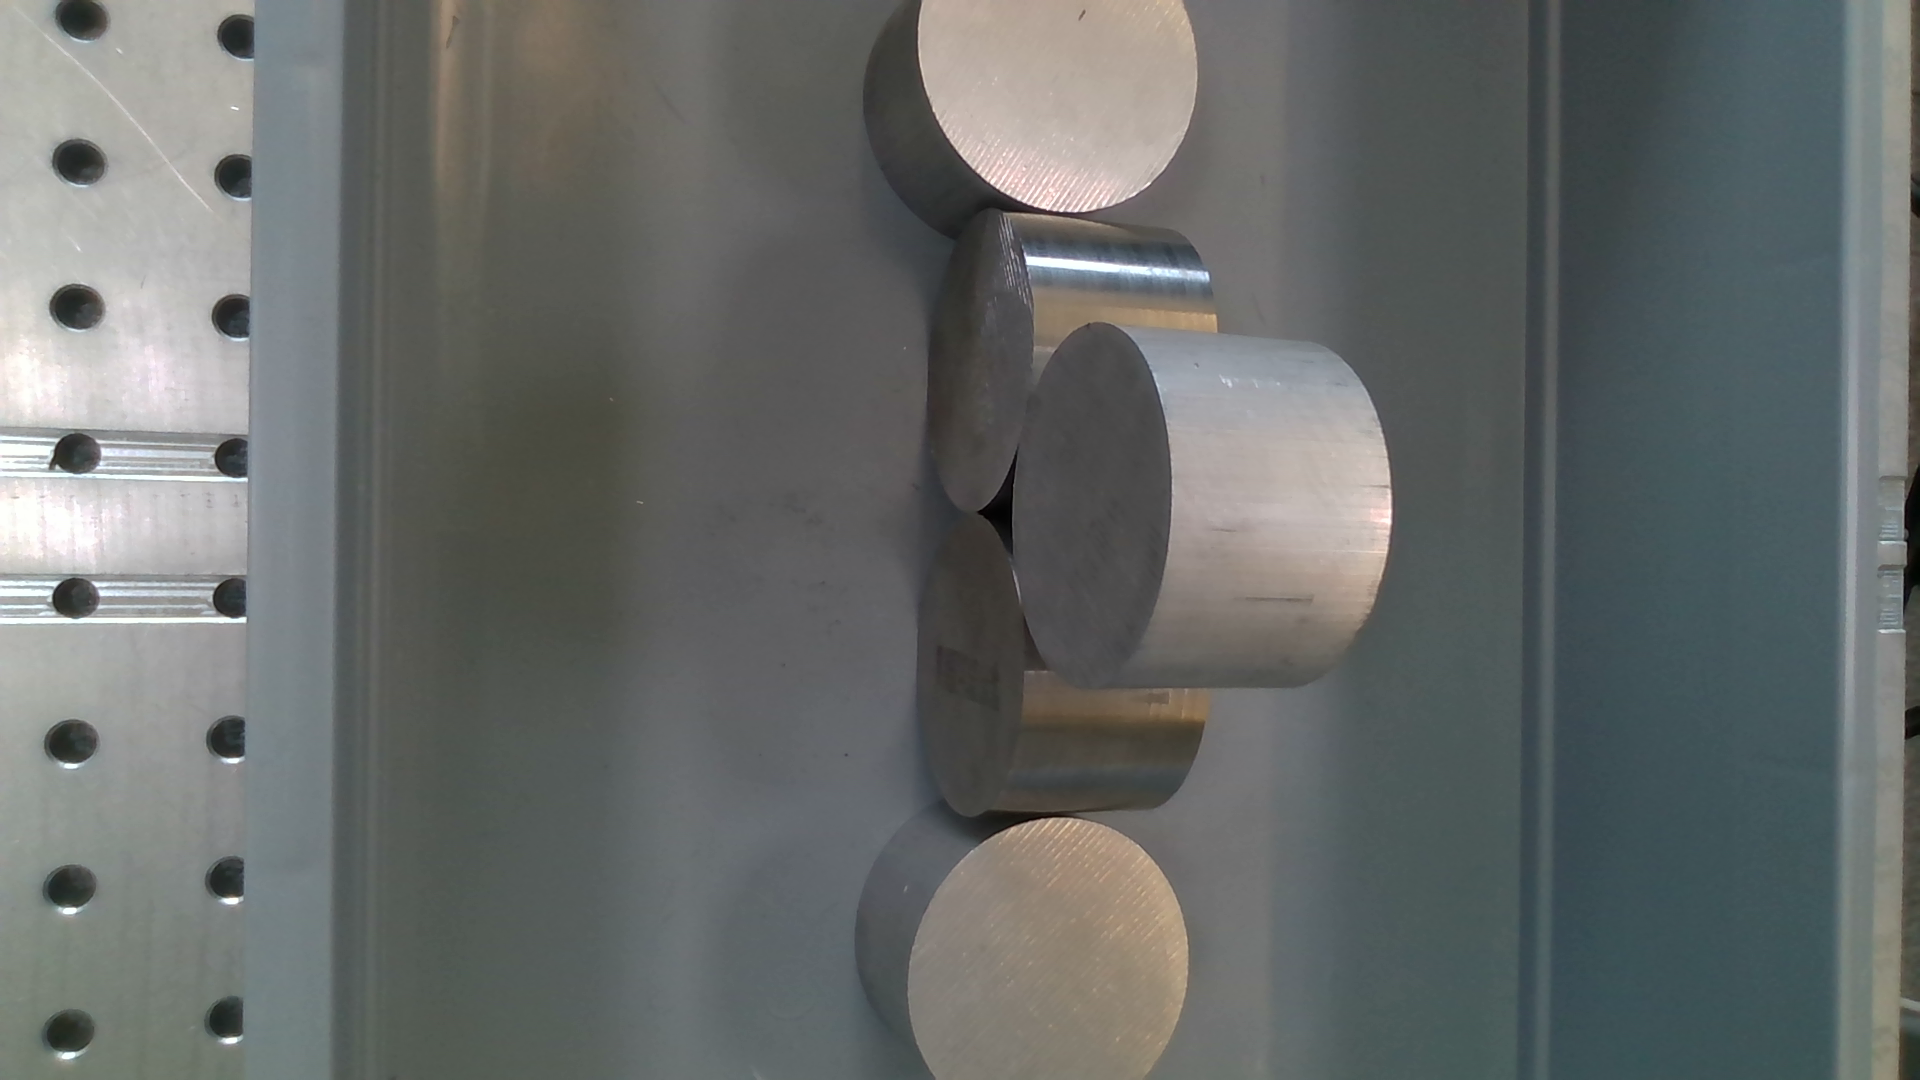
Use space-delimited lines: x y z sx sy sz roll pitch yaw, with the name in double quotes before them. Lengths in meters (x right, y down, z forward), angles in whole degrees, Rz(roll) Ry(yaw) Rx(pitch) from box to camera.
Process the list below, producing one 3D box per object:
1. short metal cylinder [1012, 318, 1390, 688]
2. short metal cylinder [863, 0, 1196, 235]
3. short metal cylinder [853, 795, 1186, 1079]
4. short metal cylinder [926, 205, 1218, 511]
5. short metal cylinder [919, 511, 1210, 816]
"short metal cylinder" 0.050 -0.007 0.309 0.050 0.080 0.080 2 89 -20
"short metal cylinder" 0.018 -0.128 0.386 0.080 0.050 0.080 0 90 -20
"short metal cylinder" 0.016 0.113 0.386 0.080 0.050 0.080 0 90 -20
"short metal cylinder" 0.028 -0.047 0.373 0.050 0.080 0.080 2 89 -20
"short metal cylinder" 0.025 0.033 0.373 0.050 0.080 0.080 2 89 -20
